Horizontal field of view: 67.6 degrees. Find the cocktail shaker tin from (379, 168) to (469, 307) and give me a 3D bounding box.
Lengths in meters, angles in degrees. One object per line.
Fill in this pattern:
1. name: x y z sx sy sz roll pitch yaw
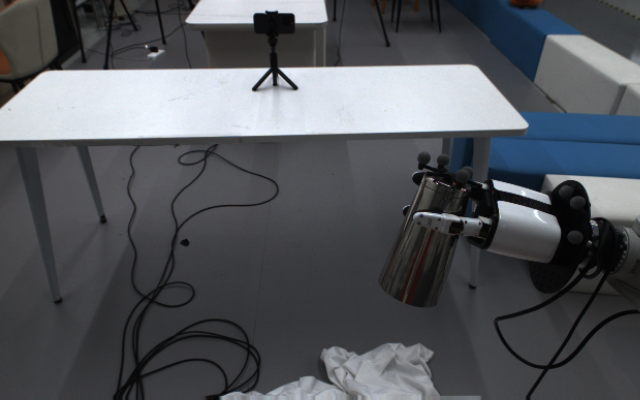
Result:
1. cocktail shaker tin: 0.152 0.049 0.678 0.093 0.170 0.093 14 18 -5
